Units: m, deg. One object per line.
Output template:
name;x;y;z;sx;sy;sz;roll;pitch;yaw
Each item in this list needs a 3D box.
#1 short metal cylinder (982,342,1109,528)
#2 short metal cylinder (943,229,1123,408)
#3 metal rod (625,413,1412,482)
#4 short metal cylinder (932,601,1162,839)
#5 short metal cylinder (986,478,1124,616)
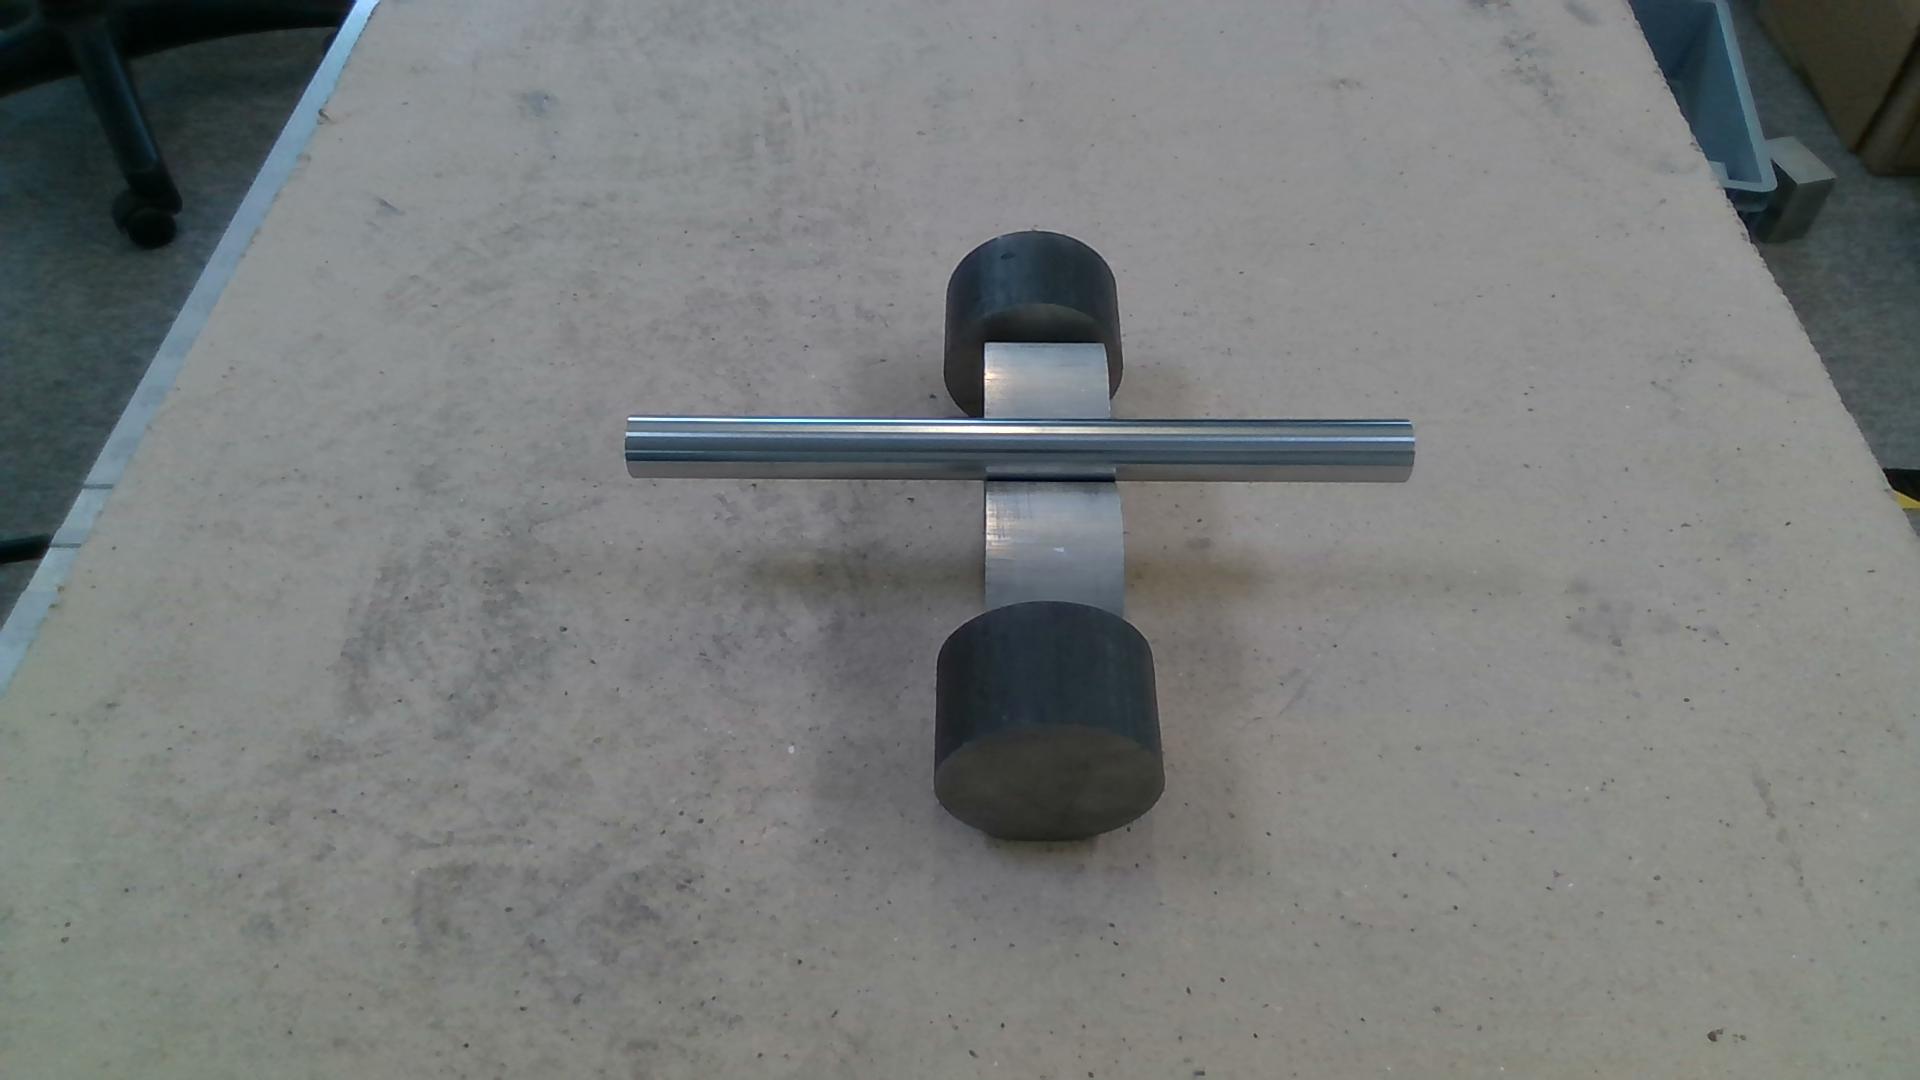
short metal cylinder;0.035;-0.045;0.589;0.050;0.080;0.080;1;50;1
short metal cylinder;0.033;-0.094;0.630;0.080;0.080;0.050;1;50;1
metal rod;0.022;-0.036;0.537;0.300;0.025;0.025;0;50;0
short metal cylinder;0.031;0.066;0.497;0.080;0.080;0.050;1;50;1
short metal cylinder;0.035;0.016;0.538;0.050;0.080;0.080;1;50;1
